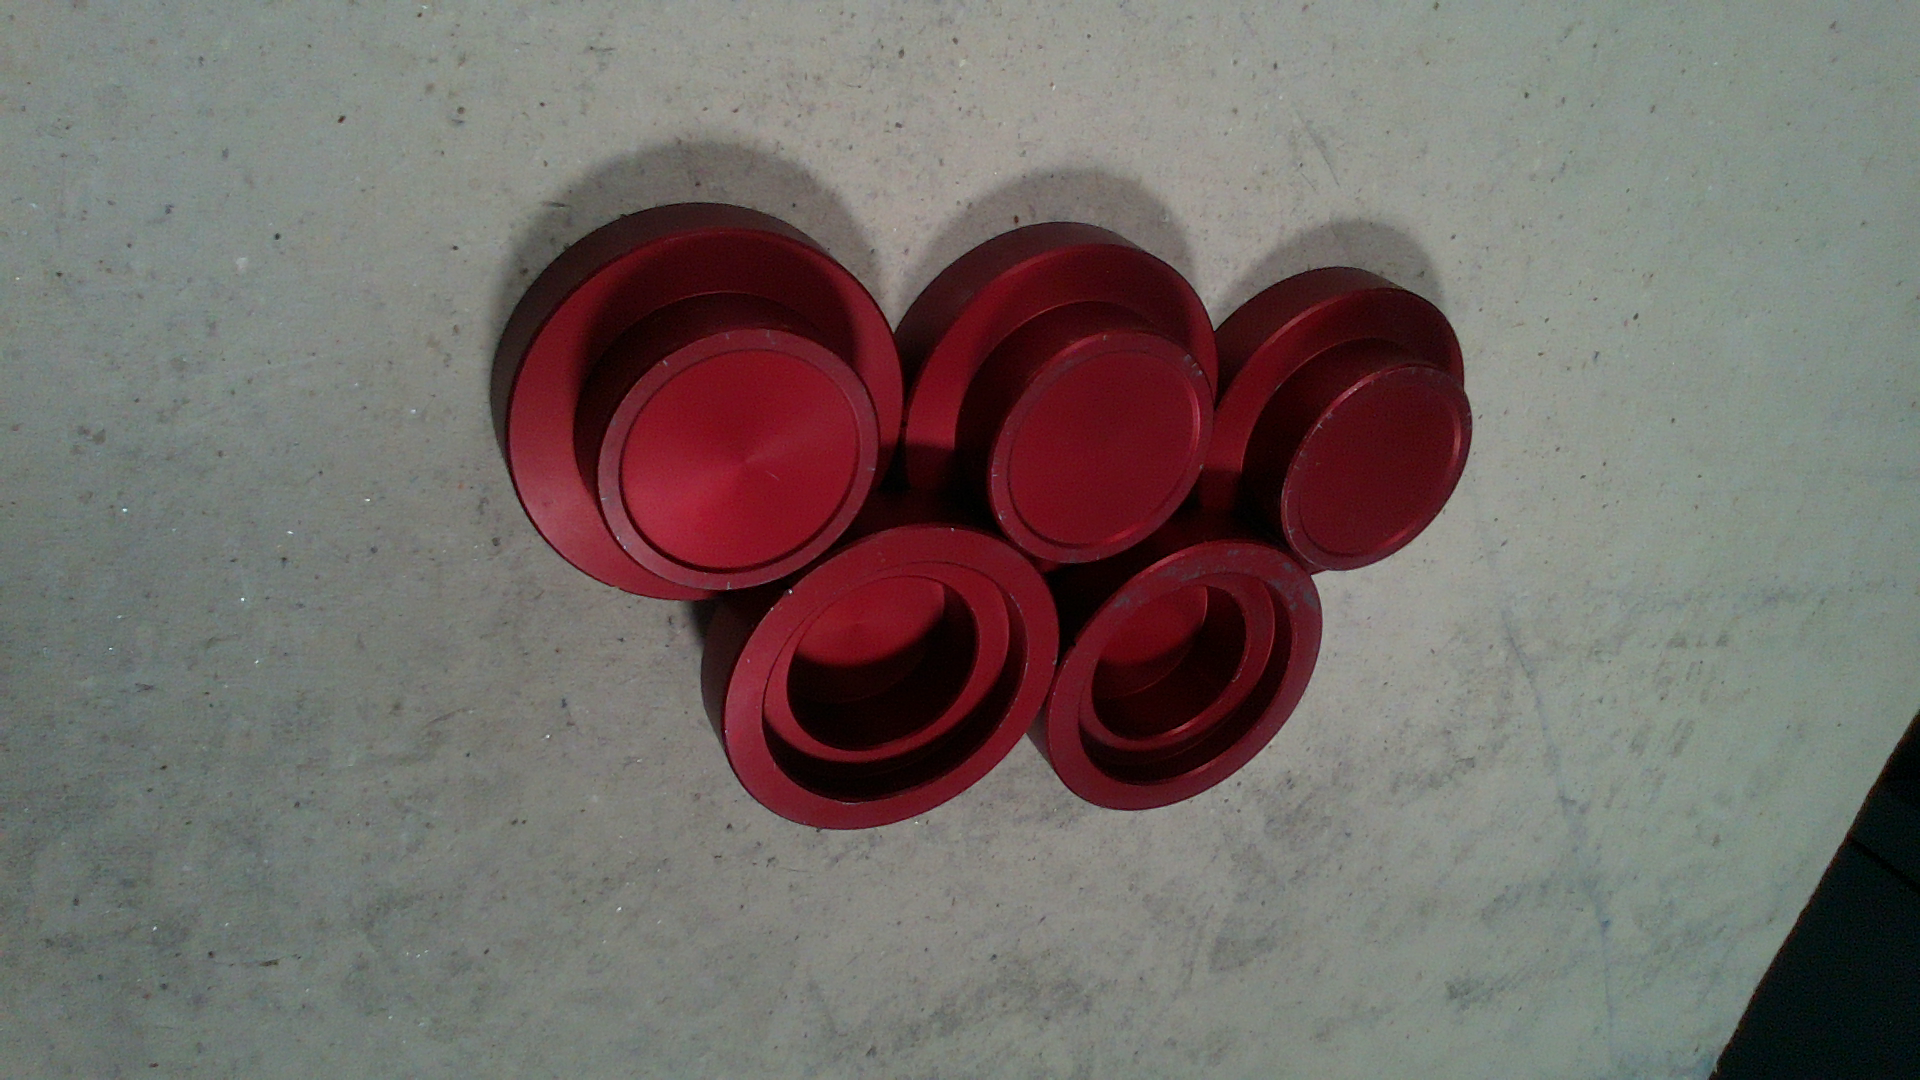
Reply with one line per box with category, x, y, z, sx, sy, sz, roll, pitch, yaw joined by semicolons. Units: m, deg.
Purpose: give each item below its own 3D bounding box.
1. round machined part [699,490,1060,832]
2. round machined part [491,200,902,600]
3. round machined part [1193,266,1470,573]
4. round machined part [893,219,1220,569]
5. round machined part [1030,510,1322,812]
round machined part;-0.025;0.029;0.383;0.098;0.042;0.098;-14;124;-21
round machined part;-0.059;-0.027;0.330;0.098;0.042;0.098;-14;124;-21
round machined part;0.116;-0.030;0.423;0.098;0.042;0.098;-14;124;-21
round machined part;0.030;-0.033;0.374;0.098;0.042;0.098;-14;124;-21
round machined part;0.061;0.034;0.432;0.098;0.042;0.098;-14;124;-21
